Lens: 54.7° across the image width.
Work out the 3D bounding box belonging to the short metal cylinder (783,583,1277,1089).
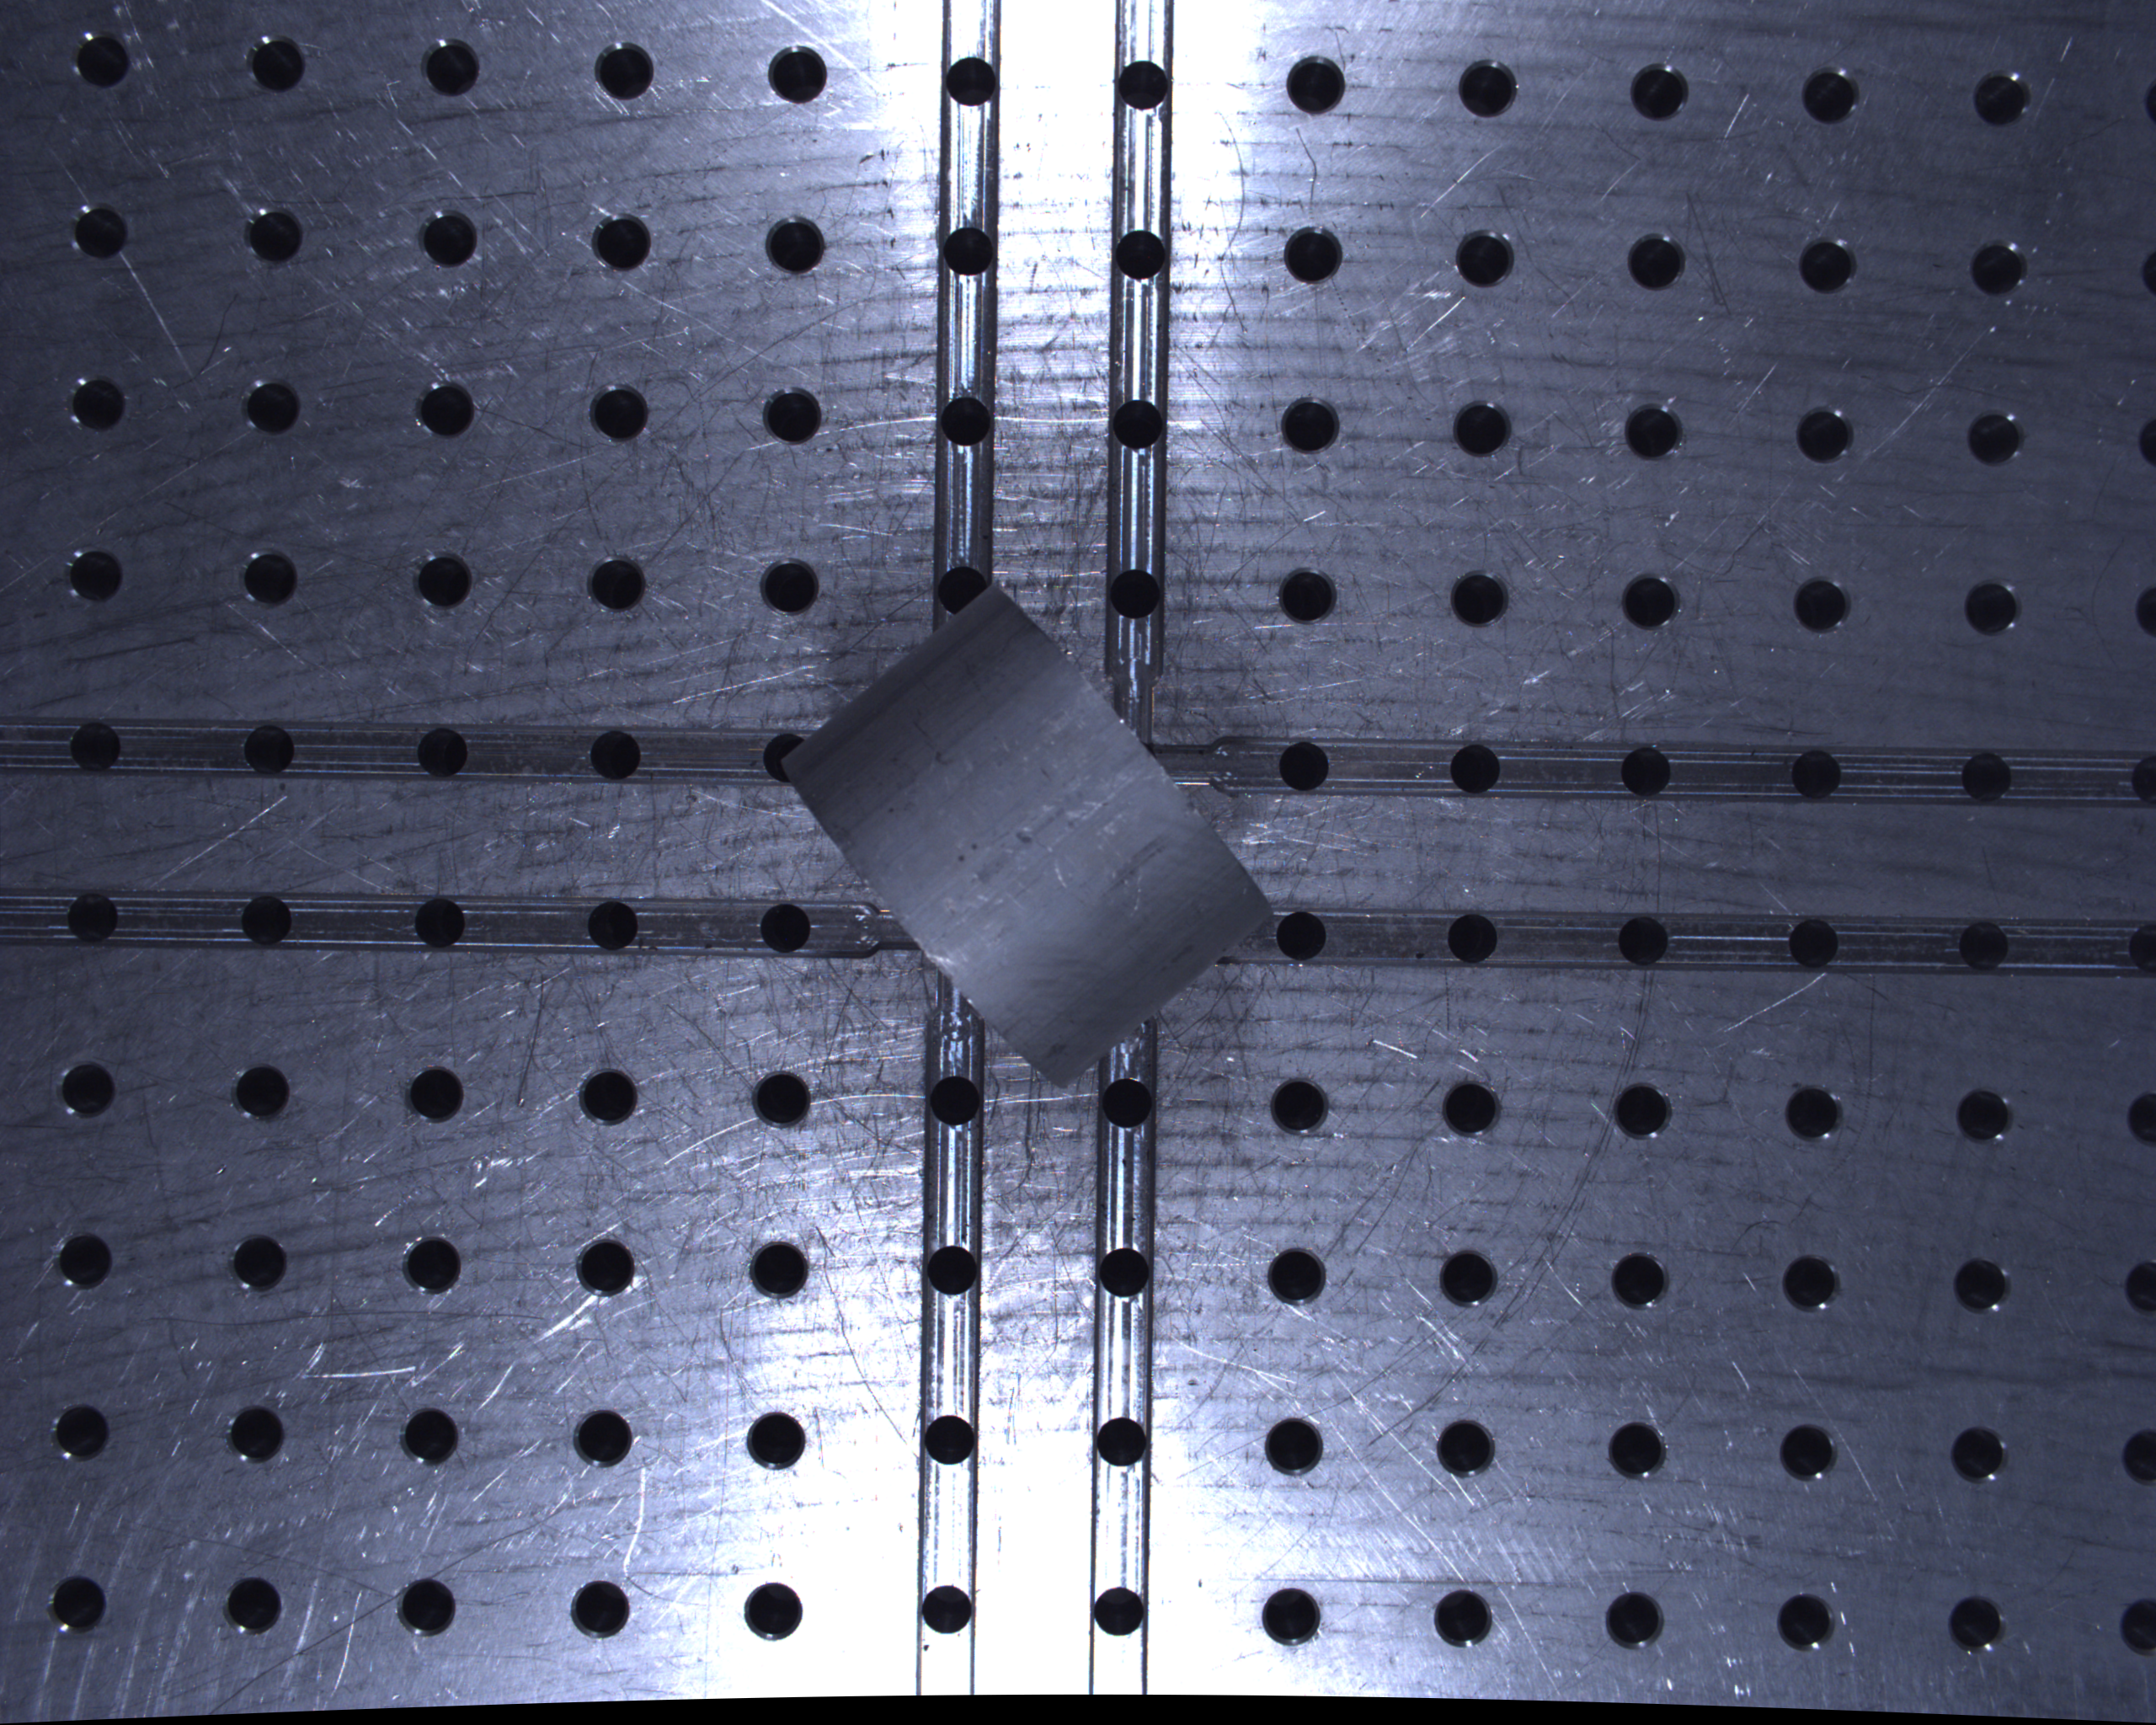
[{"bbox_3d":[-0.009,-0.005,0.385,0.050,0.080,0.080,-40,91,0],"label":"short metal cylinder"}]
